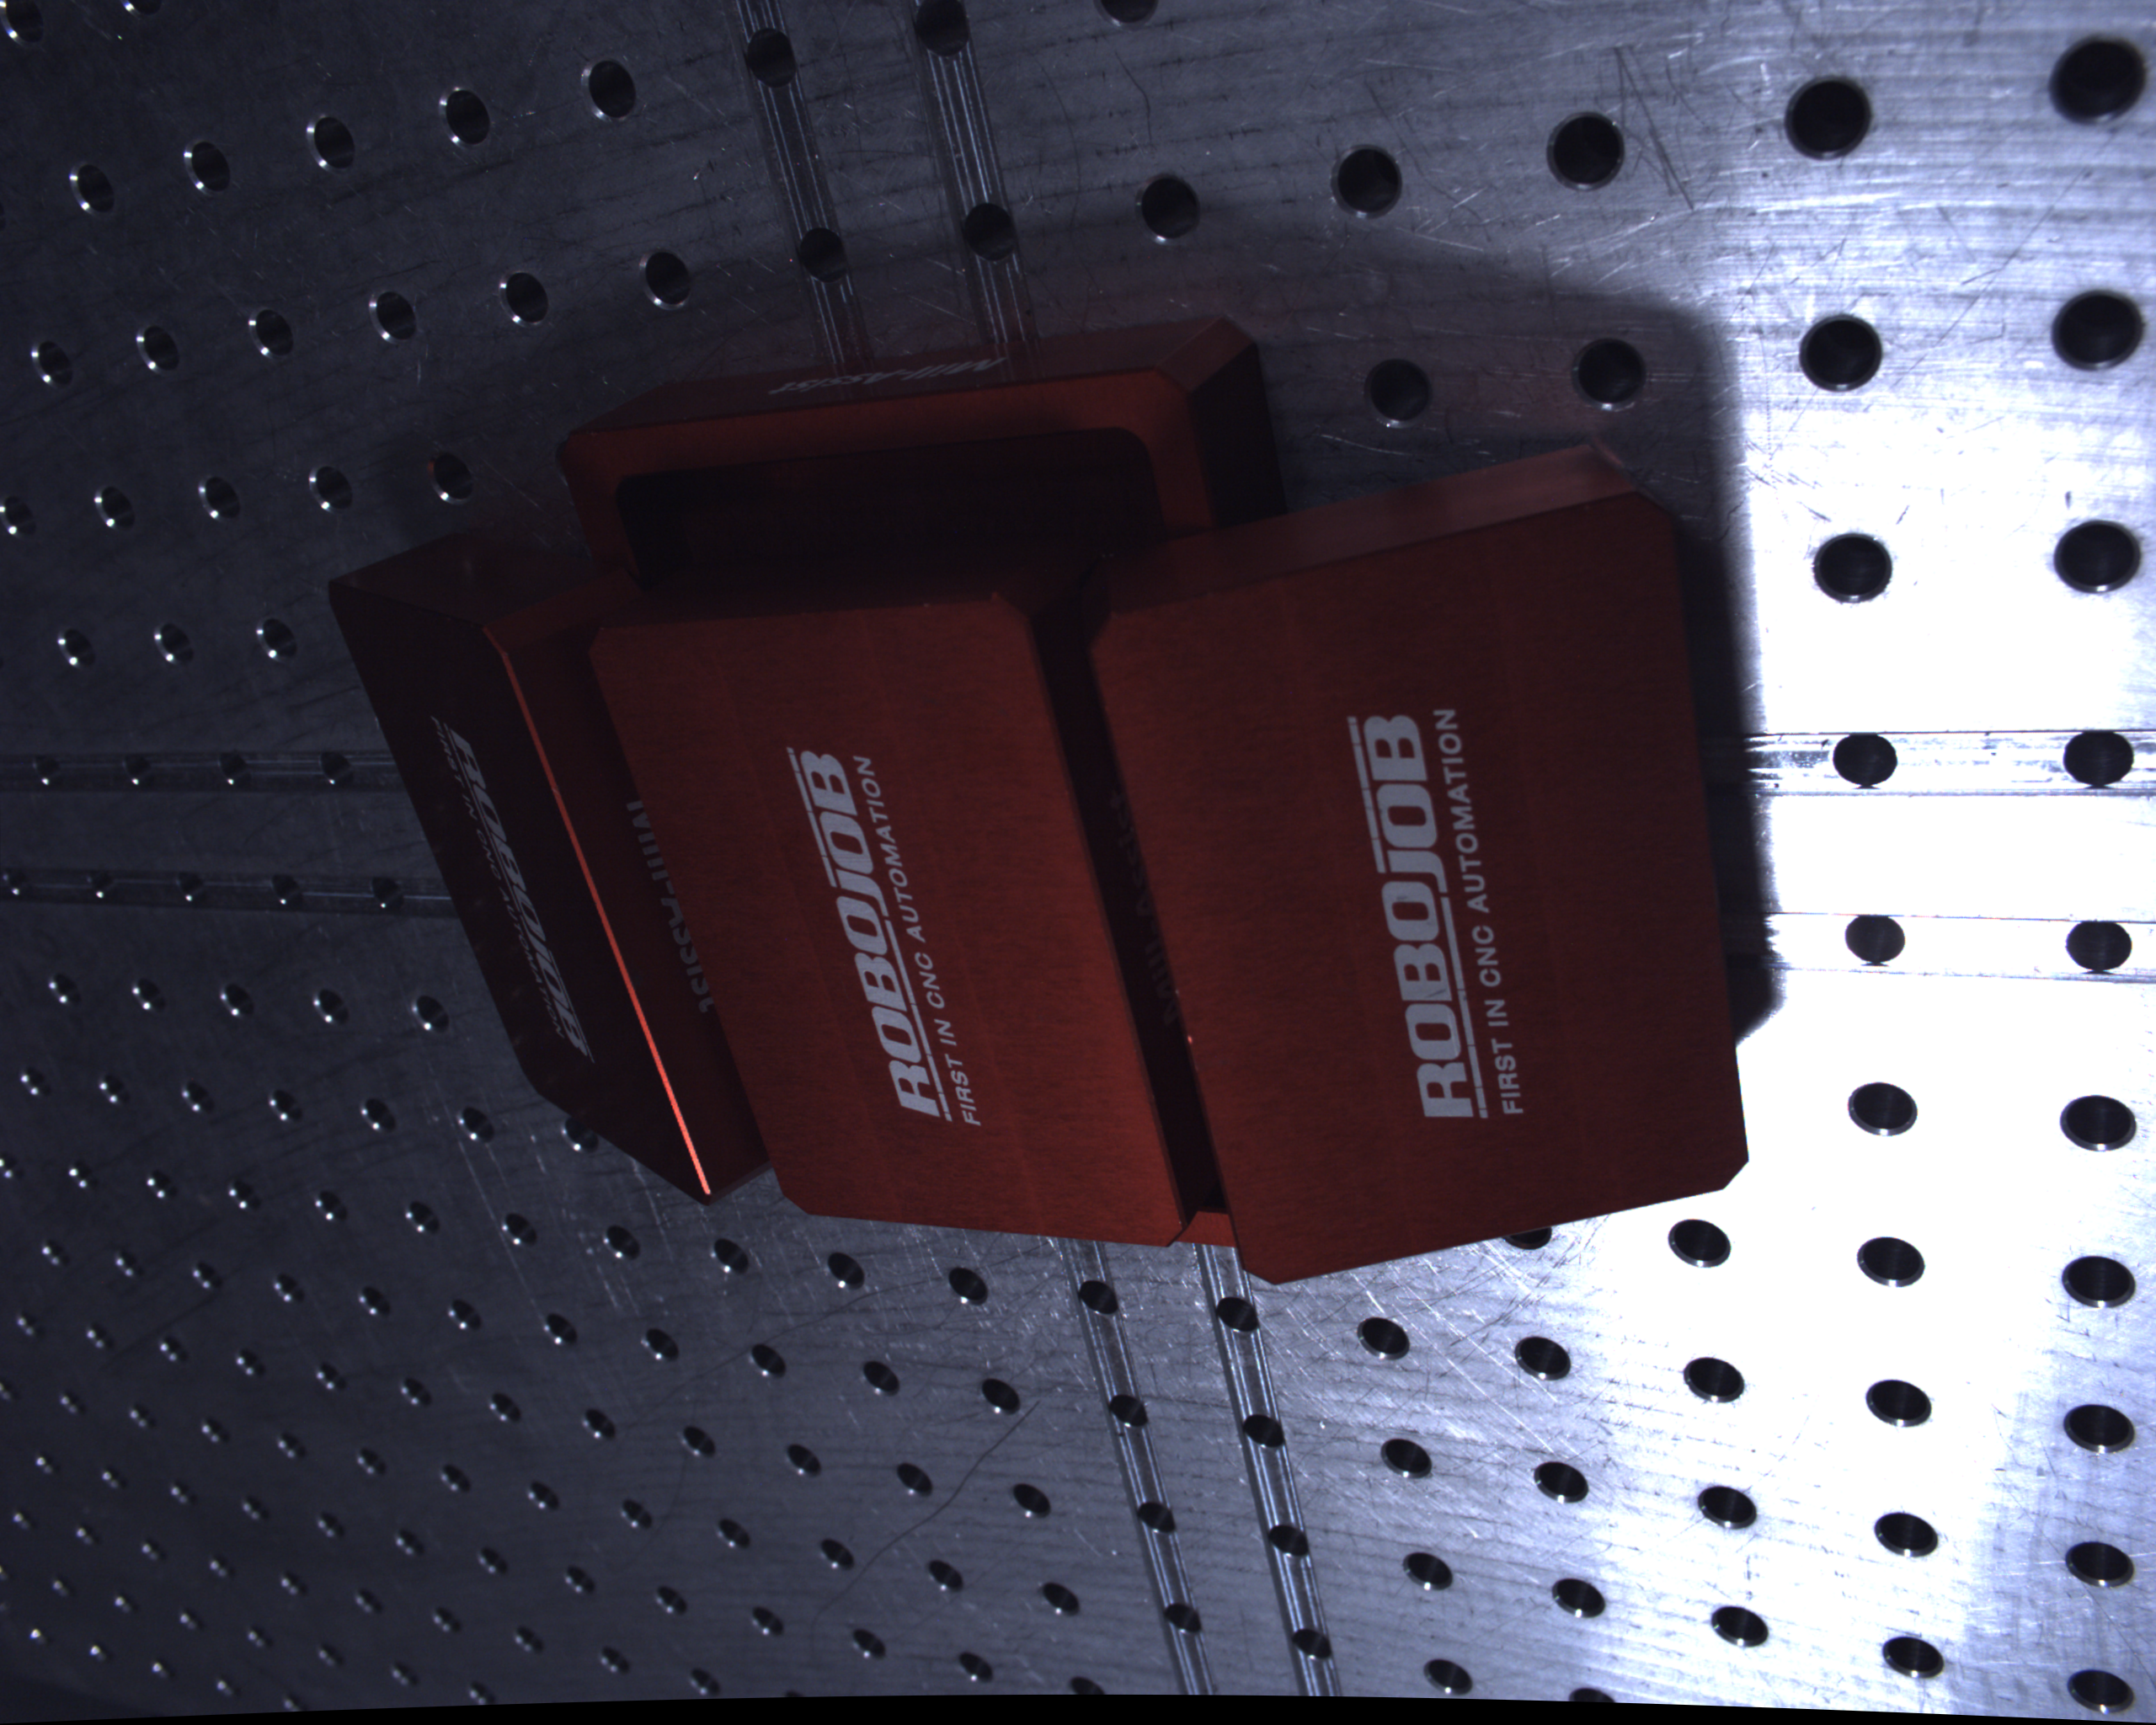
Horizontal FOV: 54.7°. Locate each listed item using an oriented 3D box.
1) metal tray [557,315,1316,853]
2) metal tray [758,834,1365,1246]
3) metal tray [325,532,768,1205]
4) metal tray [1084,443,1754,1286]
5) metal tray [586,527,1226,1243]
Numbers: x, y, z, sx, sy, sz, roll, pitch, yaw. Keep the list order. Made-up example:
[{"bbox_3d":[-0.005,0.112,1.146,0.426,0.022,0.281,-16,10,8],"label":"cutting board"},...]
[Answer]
[{"bbox_3d":[-0.025,-0.048,0.390,0.130,0.030,0.089,0,119,27],"label":"metal tray"},{"bbox_3d":[-0.004,0.031,0.429,0.130,0.030,0.089,0,119,27],"label":"metal tray"},{"bbox_3d":[-0.106,0.000,0.438,0.090,0.030,0.129,19,131,49],"label":"metal tray"},{"bbox_3d":[0.059,0.004,0.354,0.090,0.030,0.129,-13,115,3],"label":"metal tray"},{"bbox_3d":[-0.028,0.007,0.386,0.090,0.030,0.129,0,118,28],"label":"metal tray"}]
